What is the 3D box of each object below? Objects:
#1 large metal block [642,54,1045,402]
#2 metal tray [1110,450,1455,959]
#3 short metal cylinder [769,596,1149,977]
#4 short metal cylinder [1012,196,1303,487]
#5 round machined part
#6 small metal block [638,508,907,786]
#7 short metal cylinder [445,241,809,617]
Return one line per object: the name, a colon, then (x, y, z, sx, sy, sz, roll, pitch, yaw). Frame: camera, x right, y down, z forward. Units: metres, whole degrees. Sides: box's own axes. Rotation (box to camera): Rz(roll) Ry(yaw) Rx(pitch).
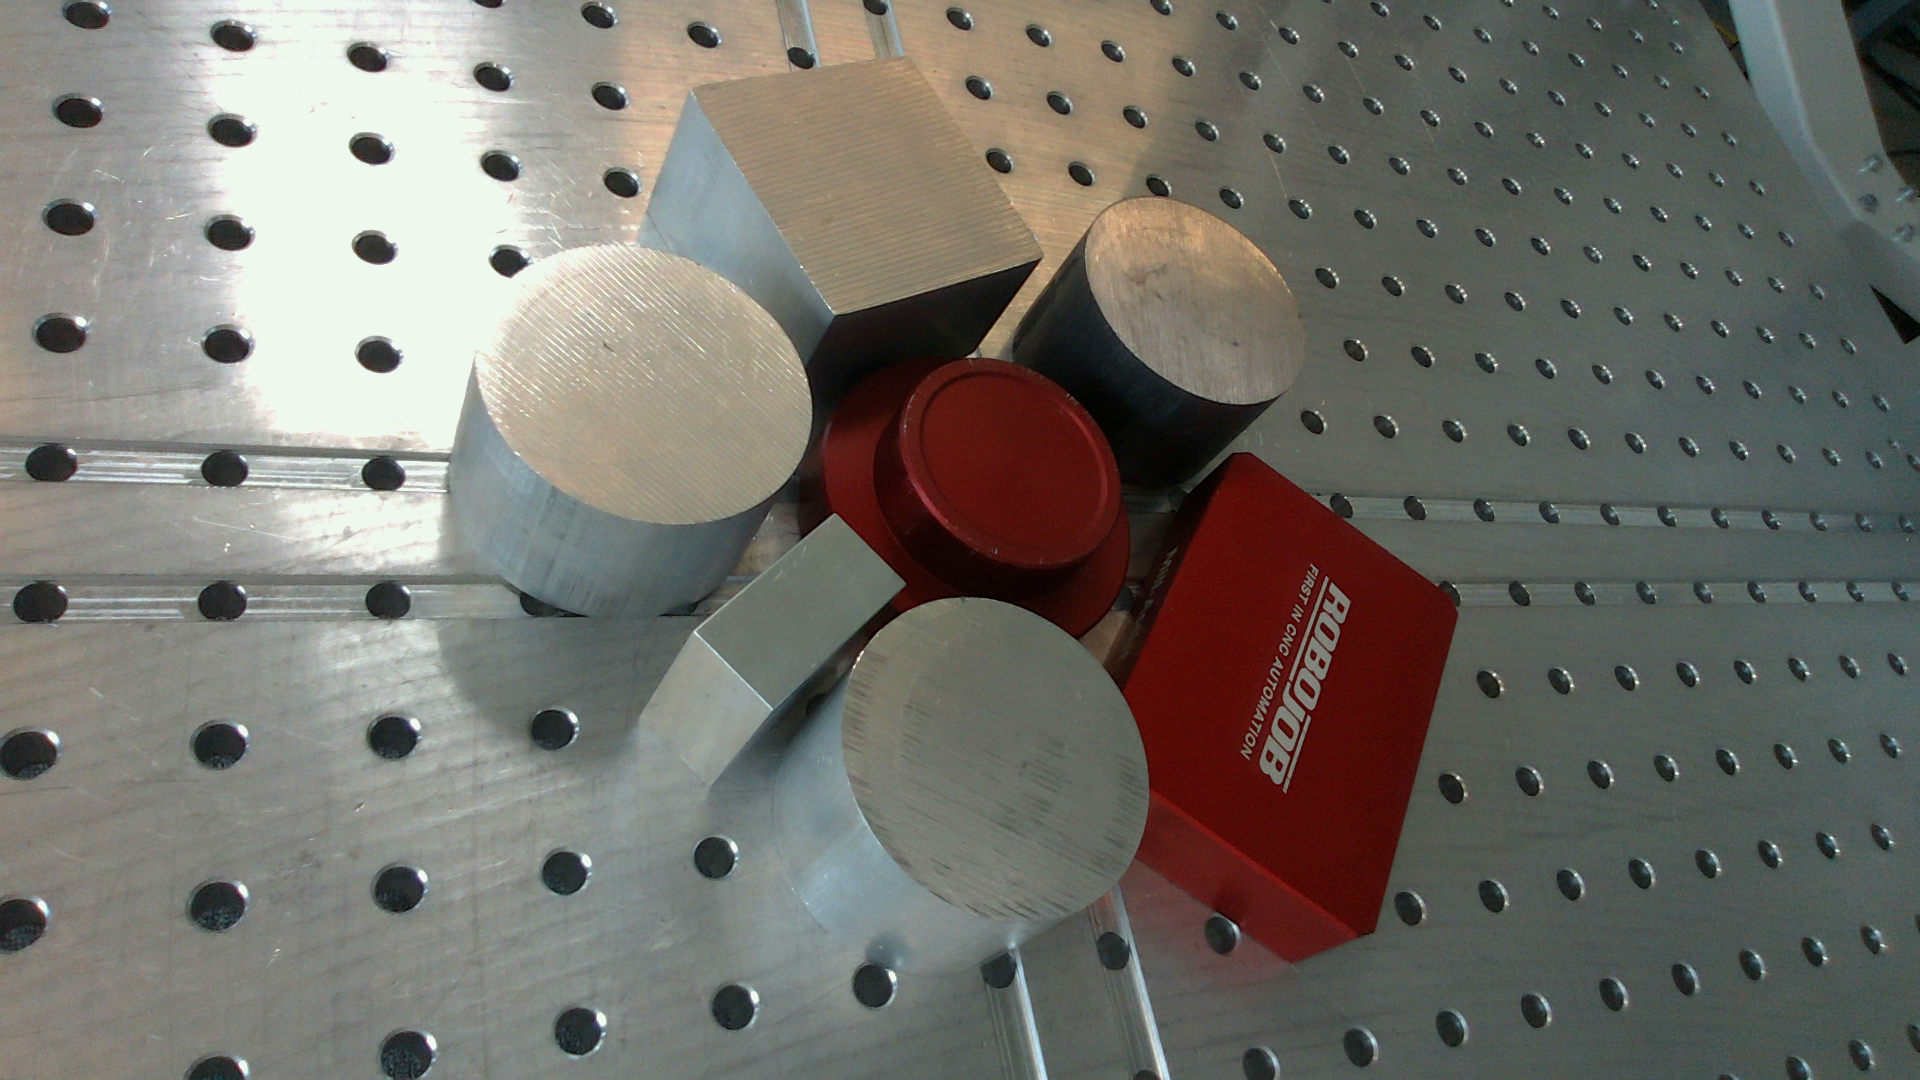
large metal block: (-0.036, -0.094, 0.415, 0.080, 0.050, 0.080, -23, 74, -36)
metal tray: (0.093, 0.044, 0.411, 0.090, 0.030, 0.130, 35, 51, -5)
short metal cylinder: (-0.001, 0.061, 0.338, 0.080, 0.050, 0.080, 14, 56, -21)
short metal cylinder: (0.064, -0.064, 0.450, 0.080, 0.050, 0.080, 14, 56, -21)
round machined part: (0.006, -0.013, 0.392, 0.098, 0.042, 0.098, 14, 56, -21)
small metal block: (-0.046, 0.026, 0.334, 0.025, 0.050, 0.050, 44, 51, 3)
short metal cylinder: (-0.084, -0.028, 0.347, 0.080, 0.050, 0.080, 14, 56, -21)
